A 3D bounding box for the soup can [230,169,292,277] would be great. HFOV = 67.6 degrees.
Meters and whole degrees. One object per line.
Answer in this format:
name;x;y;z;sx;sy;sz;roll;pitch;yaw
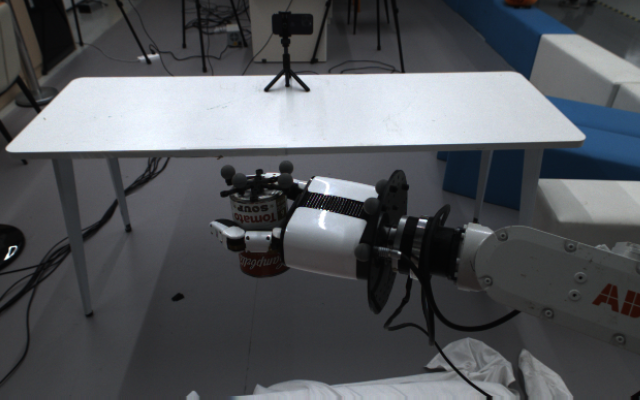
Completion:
soup can;-0.067;0.033;0.579;0.067;0.101;0.067;-4;26;2
